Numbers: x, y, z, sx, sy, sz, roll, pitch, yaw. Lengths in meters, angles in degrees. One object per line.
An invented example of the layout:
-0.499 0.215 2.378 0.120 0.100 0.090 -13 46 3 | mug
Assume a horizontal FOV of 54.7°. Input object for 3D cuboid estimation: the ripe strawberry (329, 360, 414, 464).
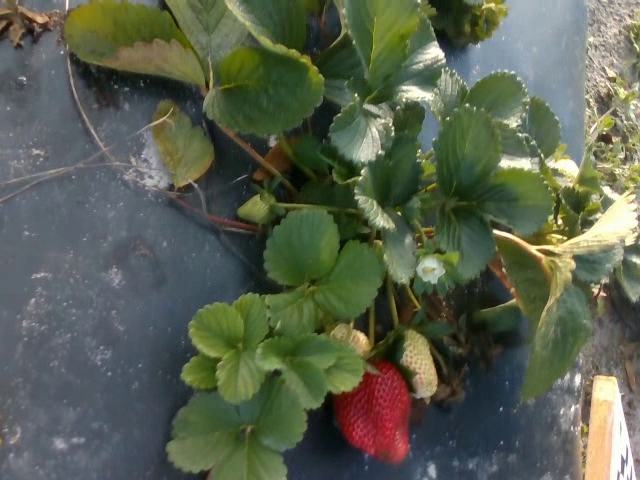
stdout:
0.037 0.111 0.387 0.057 0.058 0.071 -17 31 11 | ripe strawberry
